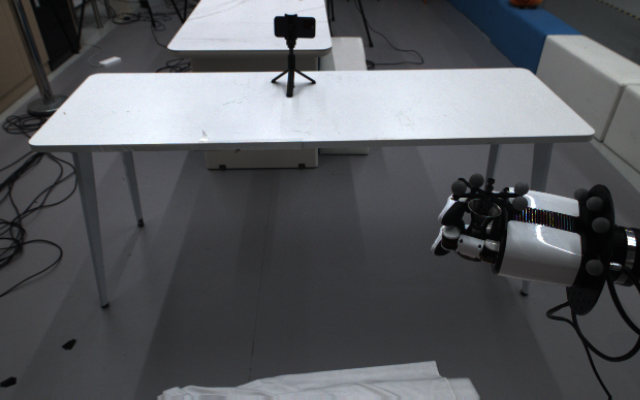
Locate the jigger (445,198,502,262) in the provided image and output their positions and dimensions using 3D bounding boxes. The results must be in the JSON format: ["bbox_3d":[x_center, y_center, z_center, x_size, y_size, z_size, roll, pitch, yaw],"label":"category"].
[{"bbox_3d":[0.202,0.036,0.615,0.043,0.071,0.043,4,31,-2],"label":"jigger"}]
